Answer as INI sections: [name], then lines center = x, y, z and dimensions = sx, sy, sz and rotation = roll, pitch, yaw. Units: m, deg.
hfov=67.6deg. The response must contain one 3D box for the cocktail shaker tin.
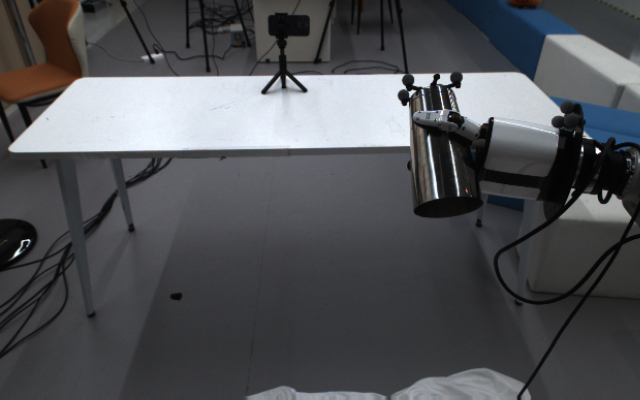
[cocktail shaker tin]
center = 0.167, -0.070, 0.676
dimensions = 0.093, 0.093, 0.170
rotation = -2, 71, -6
